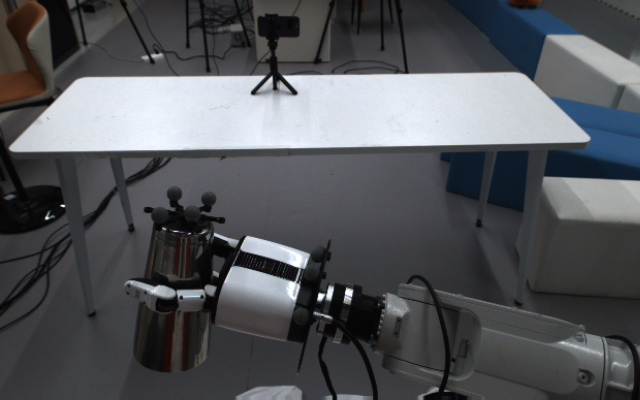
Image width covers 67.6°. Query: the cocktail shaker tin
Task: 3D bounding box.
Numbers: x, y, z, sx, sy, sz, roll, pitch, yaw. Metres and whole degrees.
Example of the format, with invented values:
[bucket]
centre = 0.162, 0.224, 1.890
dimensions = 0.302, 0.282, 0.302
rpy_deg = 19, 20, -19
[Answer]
[cocktail shaker tin]
centre = -0.166, 0.104, 0.572
dimensions = 0.093, 0.170, 0.093
rpy_deg = 10, 19, -3
